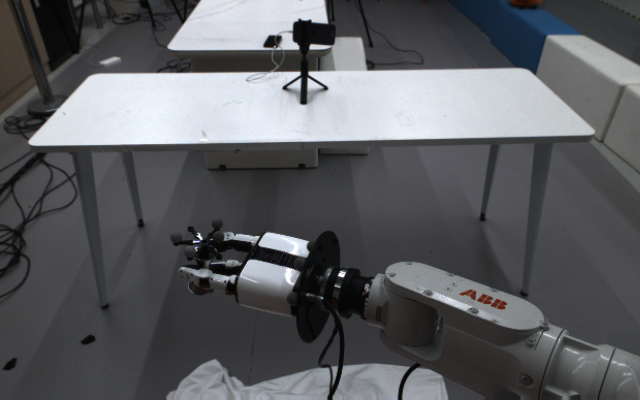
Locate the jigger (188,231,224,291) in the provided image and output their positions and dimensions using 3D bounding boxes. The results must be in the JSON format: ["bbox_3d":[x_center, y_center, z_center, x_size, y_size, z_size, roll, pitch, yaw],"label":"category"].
[{"bbox_3d":[-0.180,0.106,0.743,0.043,0.071,0.043,9,31,-5],"label":"jigger"}]
